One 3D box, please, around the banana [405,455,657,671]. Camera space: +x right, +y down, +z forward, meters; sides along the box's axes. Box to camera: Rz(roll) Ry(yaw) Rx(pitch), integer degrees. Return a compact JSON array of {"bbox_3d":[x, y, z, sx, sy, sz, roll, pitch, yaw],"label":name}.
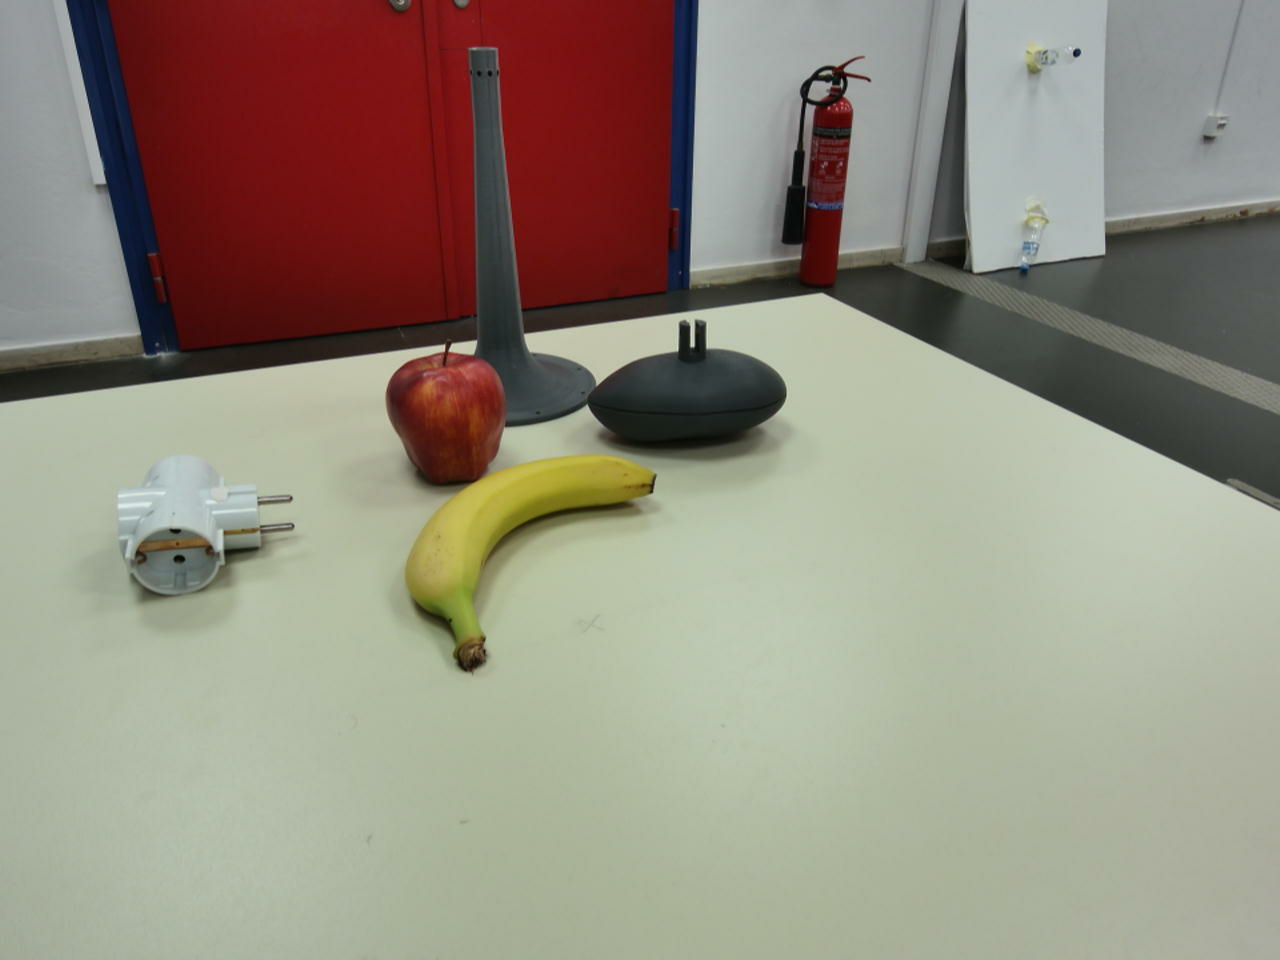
[{"bbox_3d":[-0.073,0.029,0.576,0.094,0.041,0.196,14,29,26],"label":"banana"}]
